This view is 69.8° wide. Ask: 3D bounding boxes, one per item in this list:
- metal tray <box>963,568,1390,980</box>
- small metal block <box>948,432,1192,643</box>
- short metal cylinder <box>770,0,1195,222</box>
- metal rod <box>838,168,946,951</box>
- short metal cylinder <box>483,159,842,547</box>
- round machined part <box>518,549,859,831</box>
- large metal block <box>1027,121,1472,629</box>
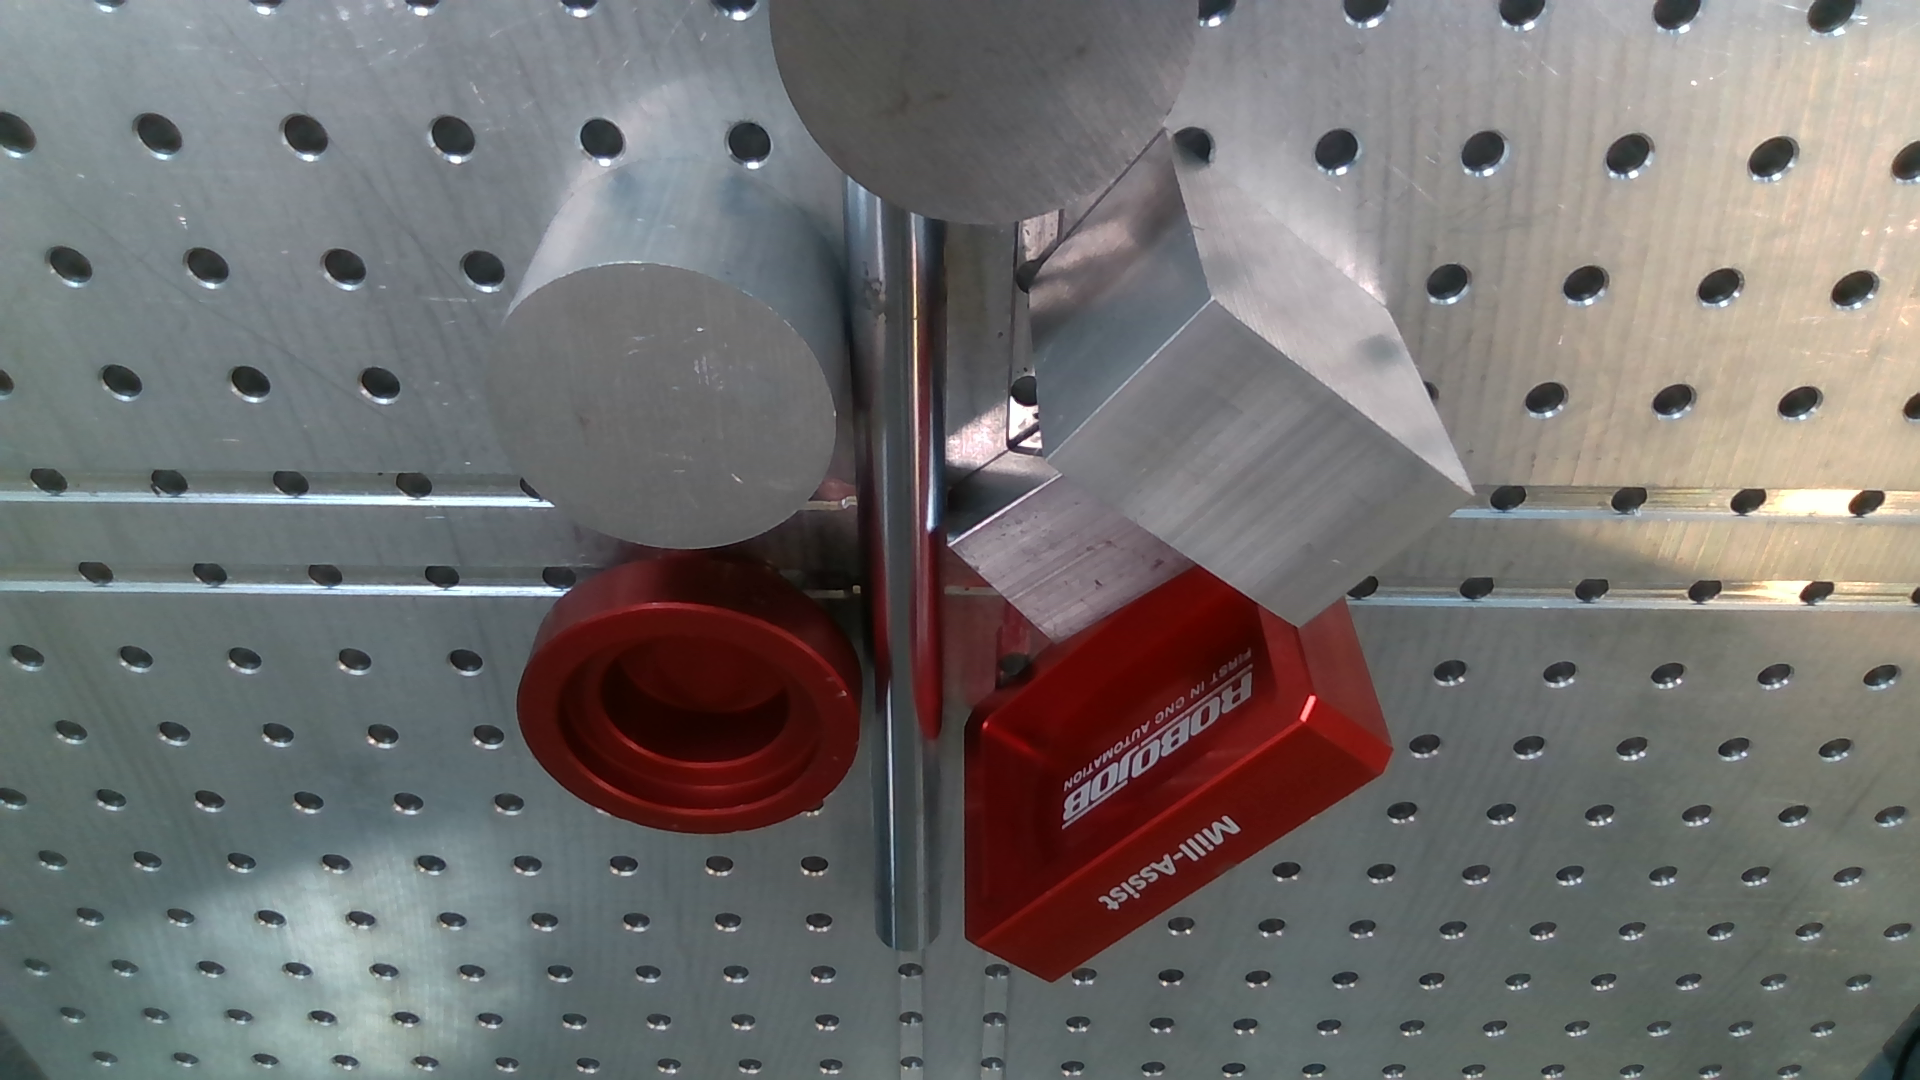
[{"bbox_3d":[0.054,0.056,0.397,0.030,0.090,0.130,33,123,-24],"label":"metal tray"},{"bbox_3d":[0.032,-0.005,0.388,0.050,0.025,0.050,-32,123,24],"label":"small metal block"},{"bbox_3d":[0.004,-0.113,0.280,0.080,0.050,0.080,0,130,0],"label":"short metal cylinder"},{"bbox_3d":[-0.018,0.027,0.415,0.025,0.025,0.301,1,130,0],"label":"metal rod"},{"bbox_3d":[-0.069,-0.045,0.337,0.080,0.050,0.080,0,130,0],"label":"short metal cylinder"},{"bbox_3d":[-0.079,0.041,0.416,0.098,0.042,0.098,0,130,0],"label":"round machined part"},{"bbox_3d":[0.064,-0.039,0.323,0.080,0.080,0.050,31,124,-24],"label":"large metal block"}]
